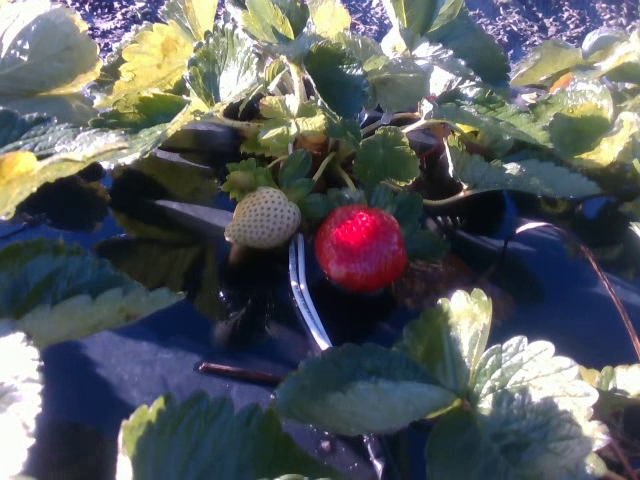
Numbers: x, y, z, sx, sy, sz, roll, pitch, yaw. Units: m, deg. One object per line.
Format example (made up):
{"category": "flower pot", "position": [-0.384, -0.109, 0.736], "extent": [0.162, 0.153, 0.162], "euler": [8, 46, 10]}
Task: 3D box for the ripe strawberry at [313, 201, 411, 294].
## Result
{"category": "ripe strawberry", "position": [0.025, 0.001, 0.308], "extent": [0.040, 0.063, 0.080], "euler": [-42, -3, 26]}
